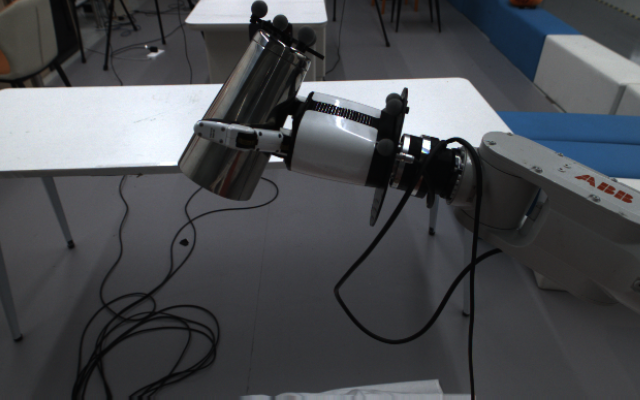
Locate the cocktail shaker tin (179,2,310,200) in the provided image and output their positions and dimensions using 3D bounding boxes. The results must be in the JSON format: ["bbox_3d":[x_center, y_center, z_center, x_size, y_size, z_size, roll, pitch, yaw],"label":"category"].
[{"bbox_3d":[-0.078,-0.097,0.538,0.093,0.170,0.093,28,14,-7],"label":"cocktail shaker tin"}]
